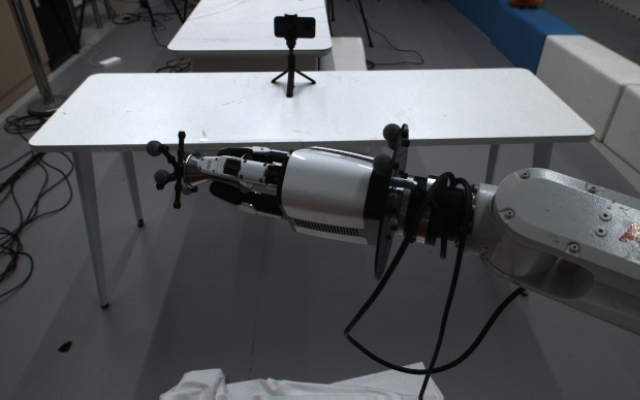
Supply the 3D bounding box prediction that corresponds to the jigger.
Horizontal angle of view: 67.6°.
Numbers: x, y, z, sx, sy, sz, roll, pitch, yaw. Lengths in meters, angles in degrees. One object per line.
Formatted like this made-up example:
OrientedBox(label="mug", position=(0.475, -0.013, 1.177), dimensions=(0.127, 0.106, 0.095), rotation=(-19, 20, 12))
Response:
OrientedBox(label="jigger", position=(-0.105, -0.036, 0.546), dimensions=(0.071, 0.043, 0.043), rotation=(3, 34, 15))
